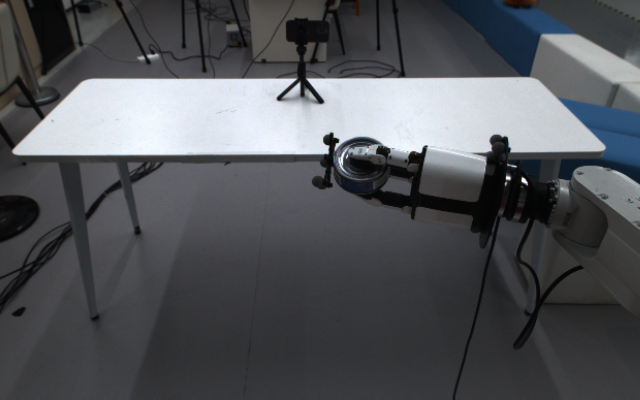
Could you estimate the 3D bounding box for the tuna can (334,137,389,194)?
[{"bbox_3d":[0.065,-0.049,0.719,0.085,0.034,0.085,-2,58,3],"label":"tuna can"}]
